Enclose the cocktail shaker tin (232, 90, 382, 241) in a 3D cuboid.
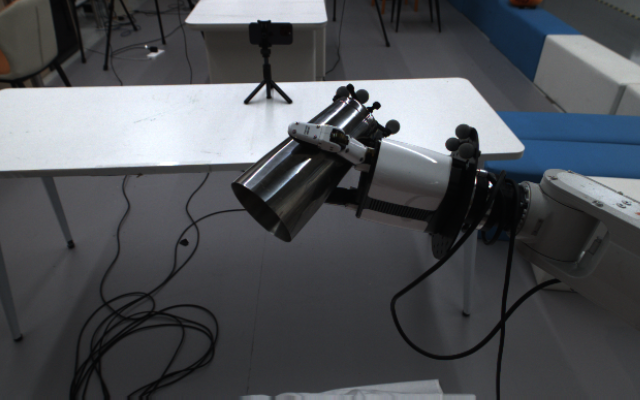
[{"bbox_3d":[-0.010,-0.047,0.565,0.093,0.093,0.170,32,66,35],"label":"cocktail shaker tin"}]
